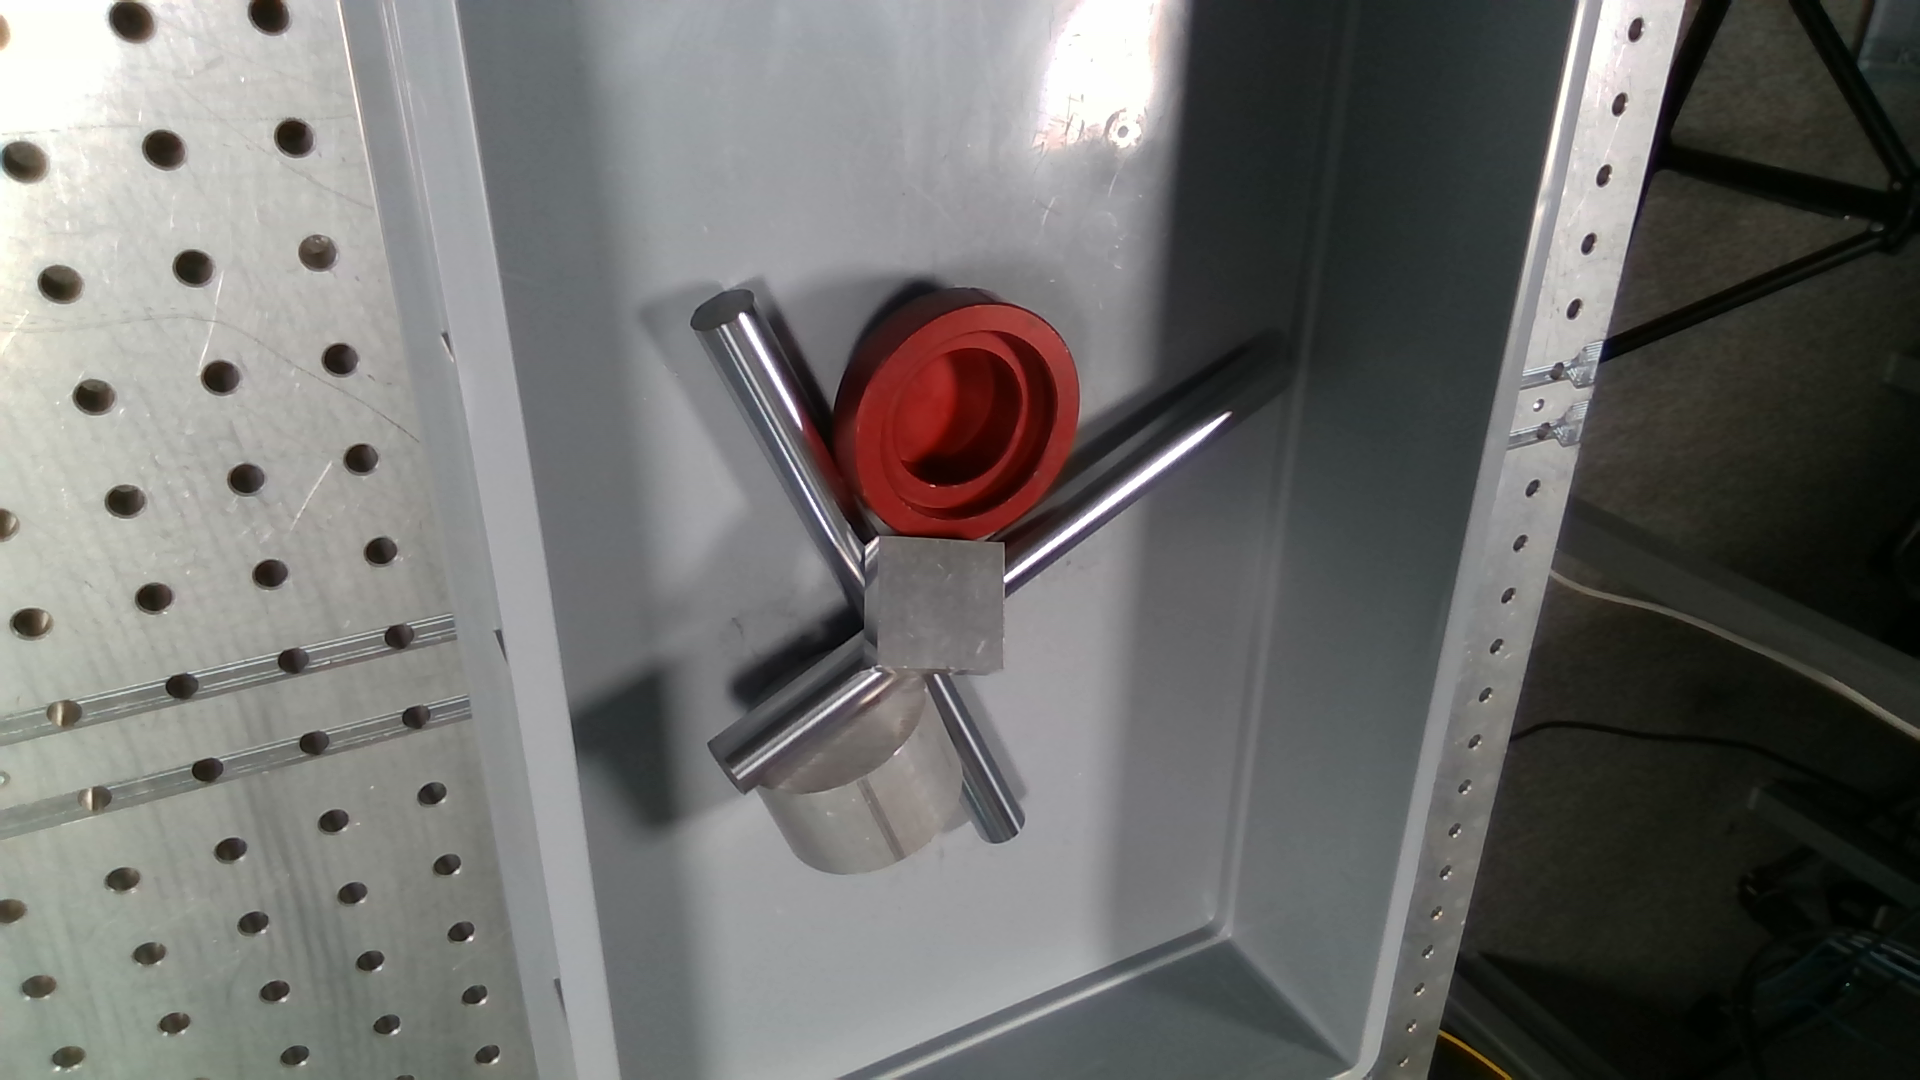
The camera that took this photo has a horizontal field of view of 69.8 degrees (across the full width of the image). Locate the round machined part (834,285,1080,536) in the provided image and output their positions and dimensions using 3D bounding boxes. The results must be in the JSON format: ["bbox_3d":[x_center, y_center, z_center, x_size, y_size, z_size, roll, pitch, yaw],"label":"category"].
[{"bbox_3d":[-0.005,-0.052,0.537,0.098,0.042,0.098,-14,122,-25],"label":"round machined part"}]

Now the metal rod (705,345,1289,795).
[{"bbox_3d":[0.025,0.005,0.574,0.300,0.025,0.025,-36,128,-19],"label":"metal rod"}]

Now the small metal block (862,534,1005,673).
[{"bbox_3d":[-0.010,0.026,0.534,0.050,0.025,0.050,3,80,-16],"label":"small metal block"}]

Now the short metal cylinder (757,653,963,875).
[{"bbox_3d":[-0.045,0.089,0.565,0.080,0.080,0.050,-32,127,-14],"label":"short metal cylinder"}]

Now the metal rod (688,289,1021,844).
[{"bbox_3d":[-0.033,0.028,0.574,0.025,0.025,0.301,-34,128,-12],"label":"metal rod"}]
